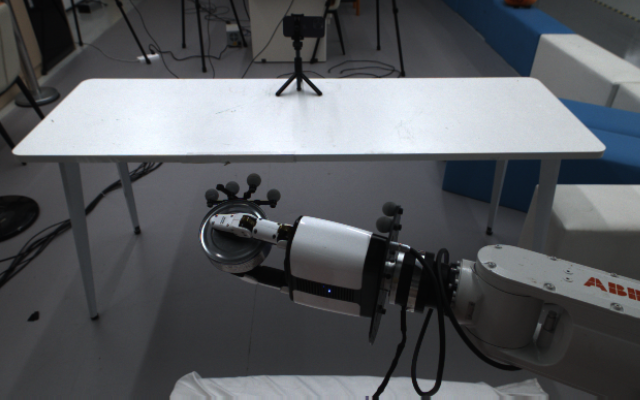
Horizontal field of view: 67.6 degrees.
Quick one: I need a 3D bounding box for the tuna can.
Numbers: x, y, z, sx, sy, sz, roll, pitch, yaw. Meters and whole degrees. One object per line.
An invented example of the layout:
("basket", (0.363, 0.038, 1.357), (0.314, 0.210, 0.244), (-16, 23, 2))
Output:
("tuna can", (-0.099, 0.049, 0.583), (0.085, 0.034, 0.085), (-1, 58, 2))
